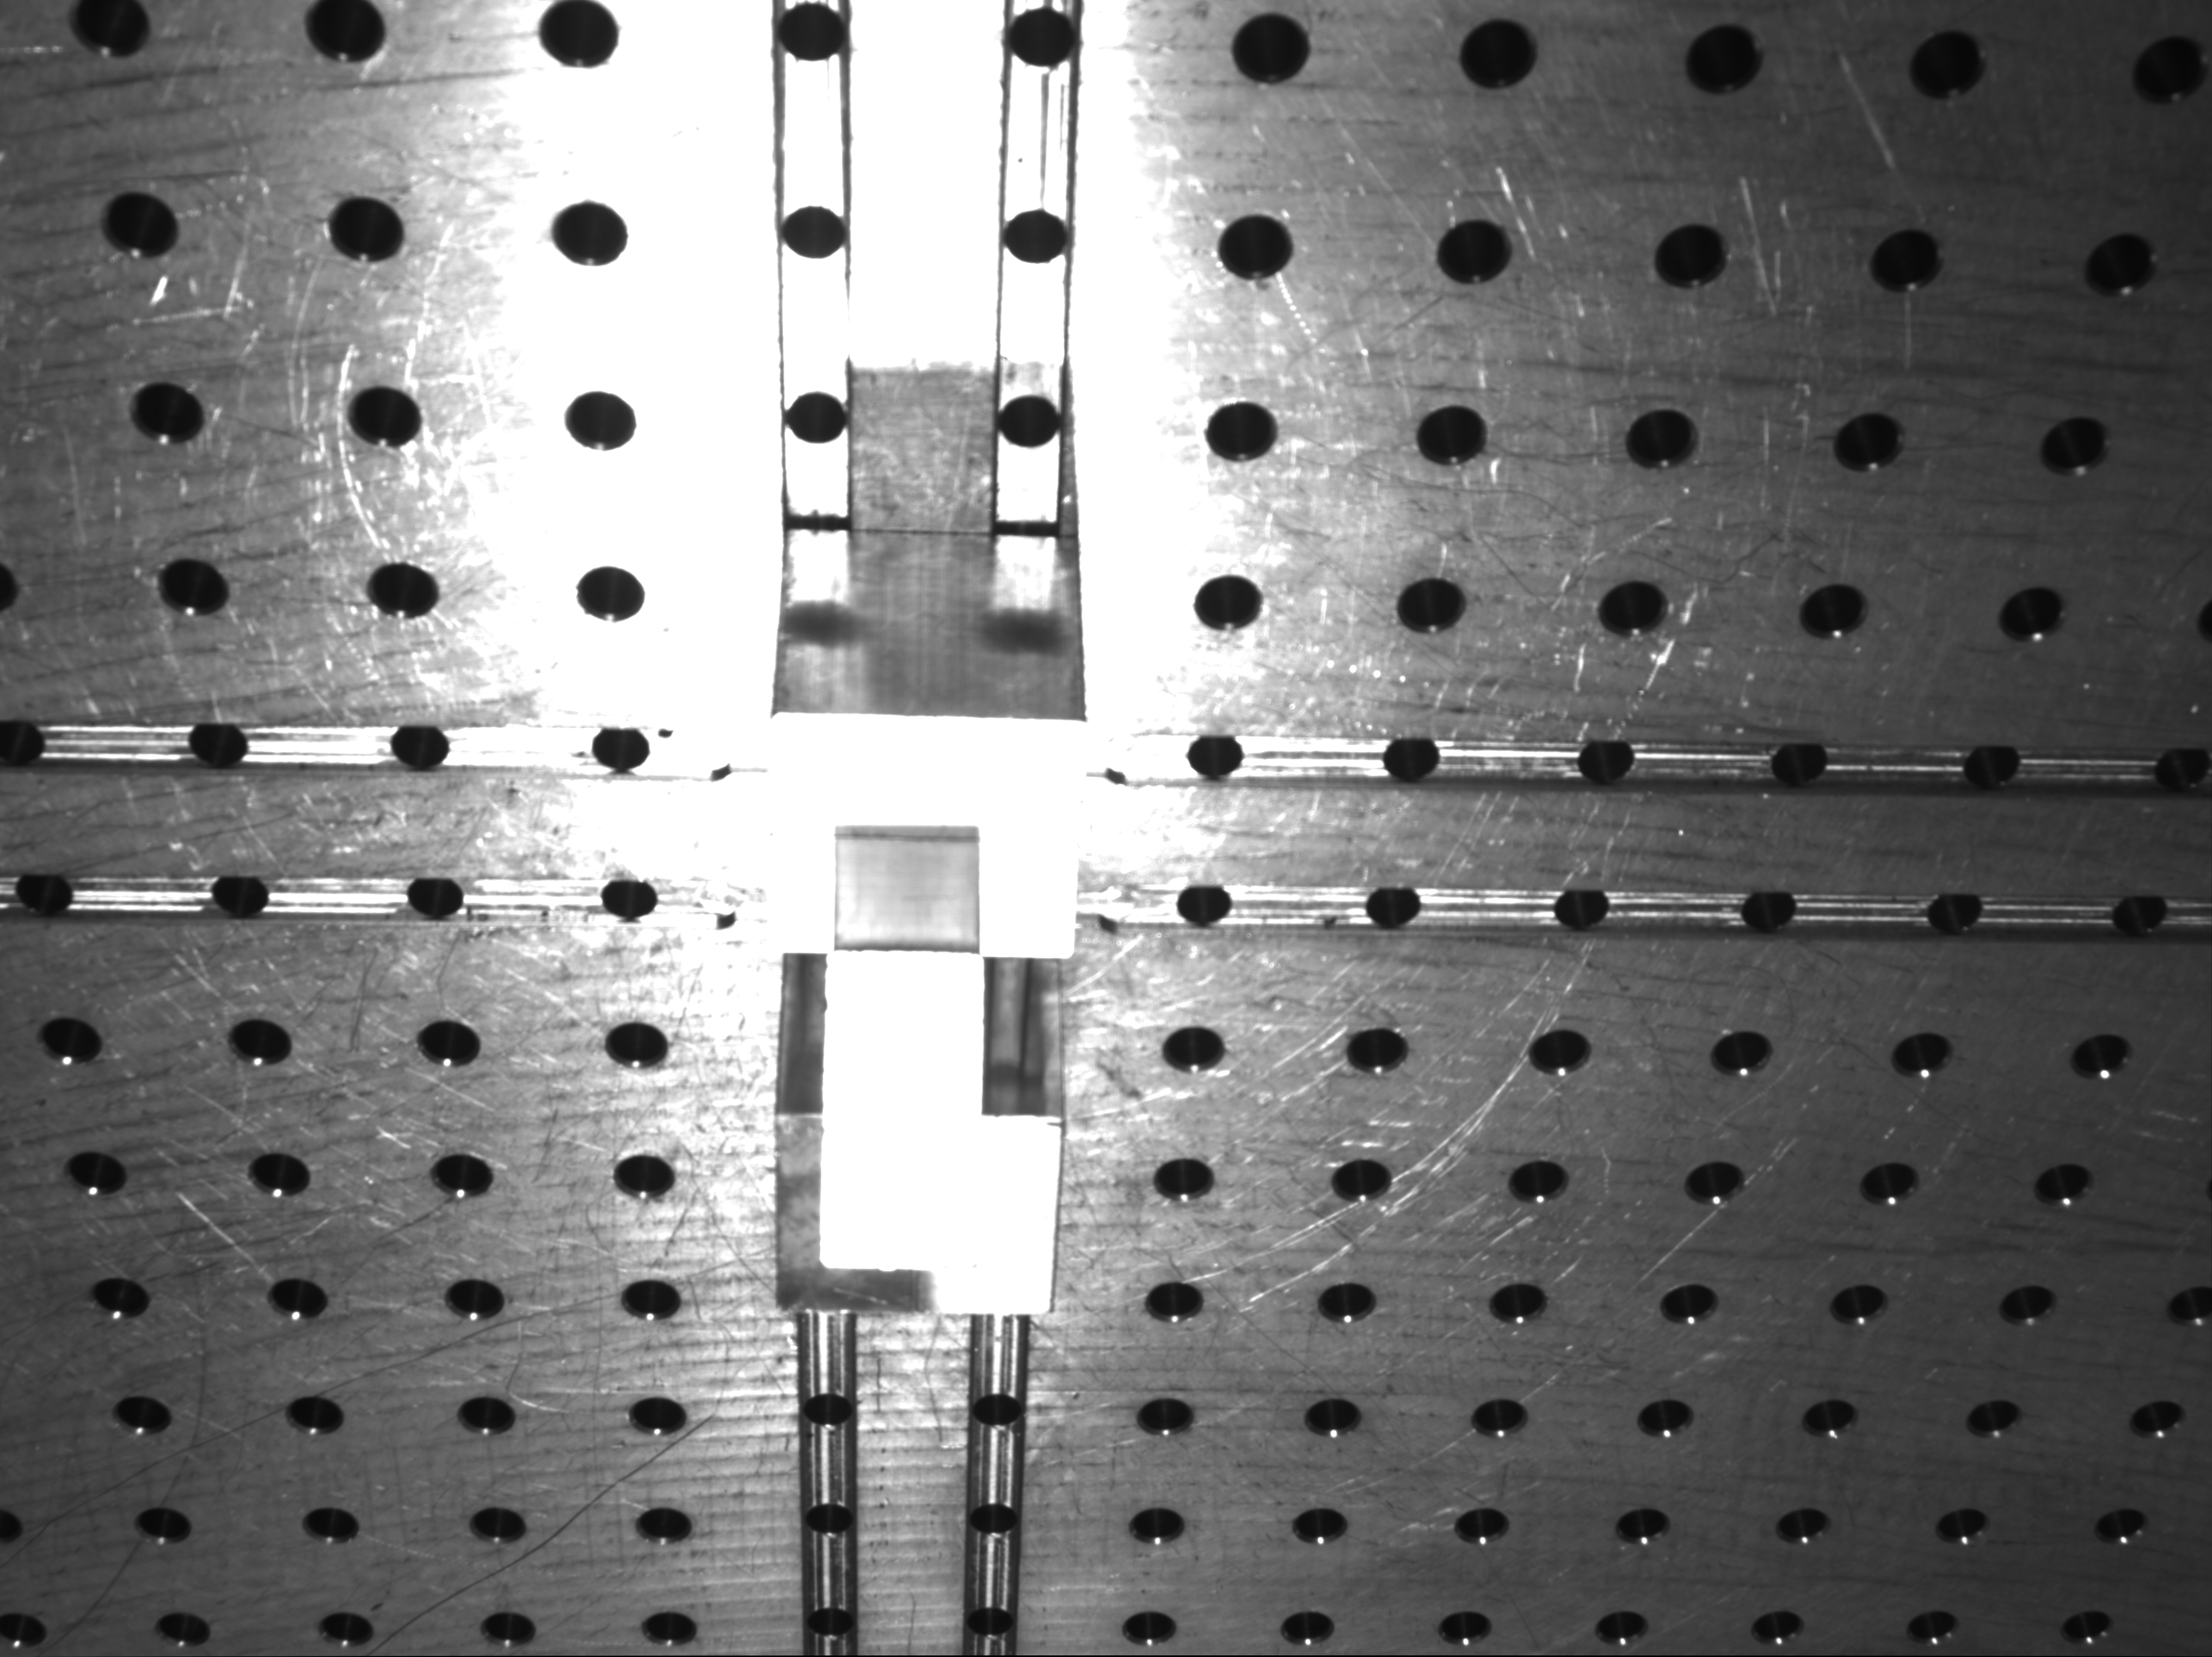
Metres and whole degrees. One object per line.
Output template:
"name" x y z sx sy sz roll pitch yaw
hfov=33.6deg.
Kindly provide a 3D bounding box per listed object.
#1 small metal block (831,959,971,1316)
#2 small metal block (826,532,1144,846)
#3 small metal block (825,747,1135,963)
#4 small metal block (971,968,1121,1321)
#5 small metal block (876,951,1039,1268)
"small metal block" -0.037 0.053 0.668 0.025 0.050 0.050 1 130 -3
"small metal block" -0.020 -0.023 0.604 0.050 0.050 0.025 2 130 -3
"small metal block" -0.021 -0.004 0.620 0.050 0.050 0.025 2 130 -3
"small metal block" -0.012 0.054 0.668 0.025 0.050 0.050 1 130 -3
"small metal block" -0.024 0.046 0.609 0.025 0.050 0.050 1 87 -1
